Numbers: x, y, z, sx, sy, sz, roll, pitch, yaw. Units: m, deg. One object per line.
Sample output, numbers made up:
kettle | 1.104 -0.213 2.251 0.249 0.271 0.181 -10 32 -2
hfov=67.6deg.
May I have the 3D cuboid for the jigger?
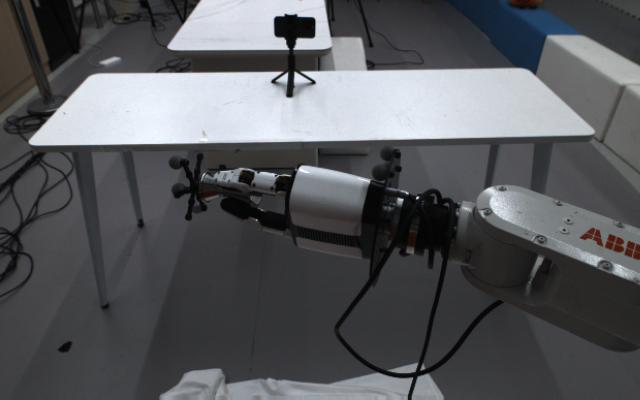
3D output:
jigger | -0.106 -0.019 0.609 0.071 0.043 0.043 3 34 14
